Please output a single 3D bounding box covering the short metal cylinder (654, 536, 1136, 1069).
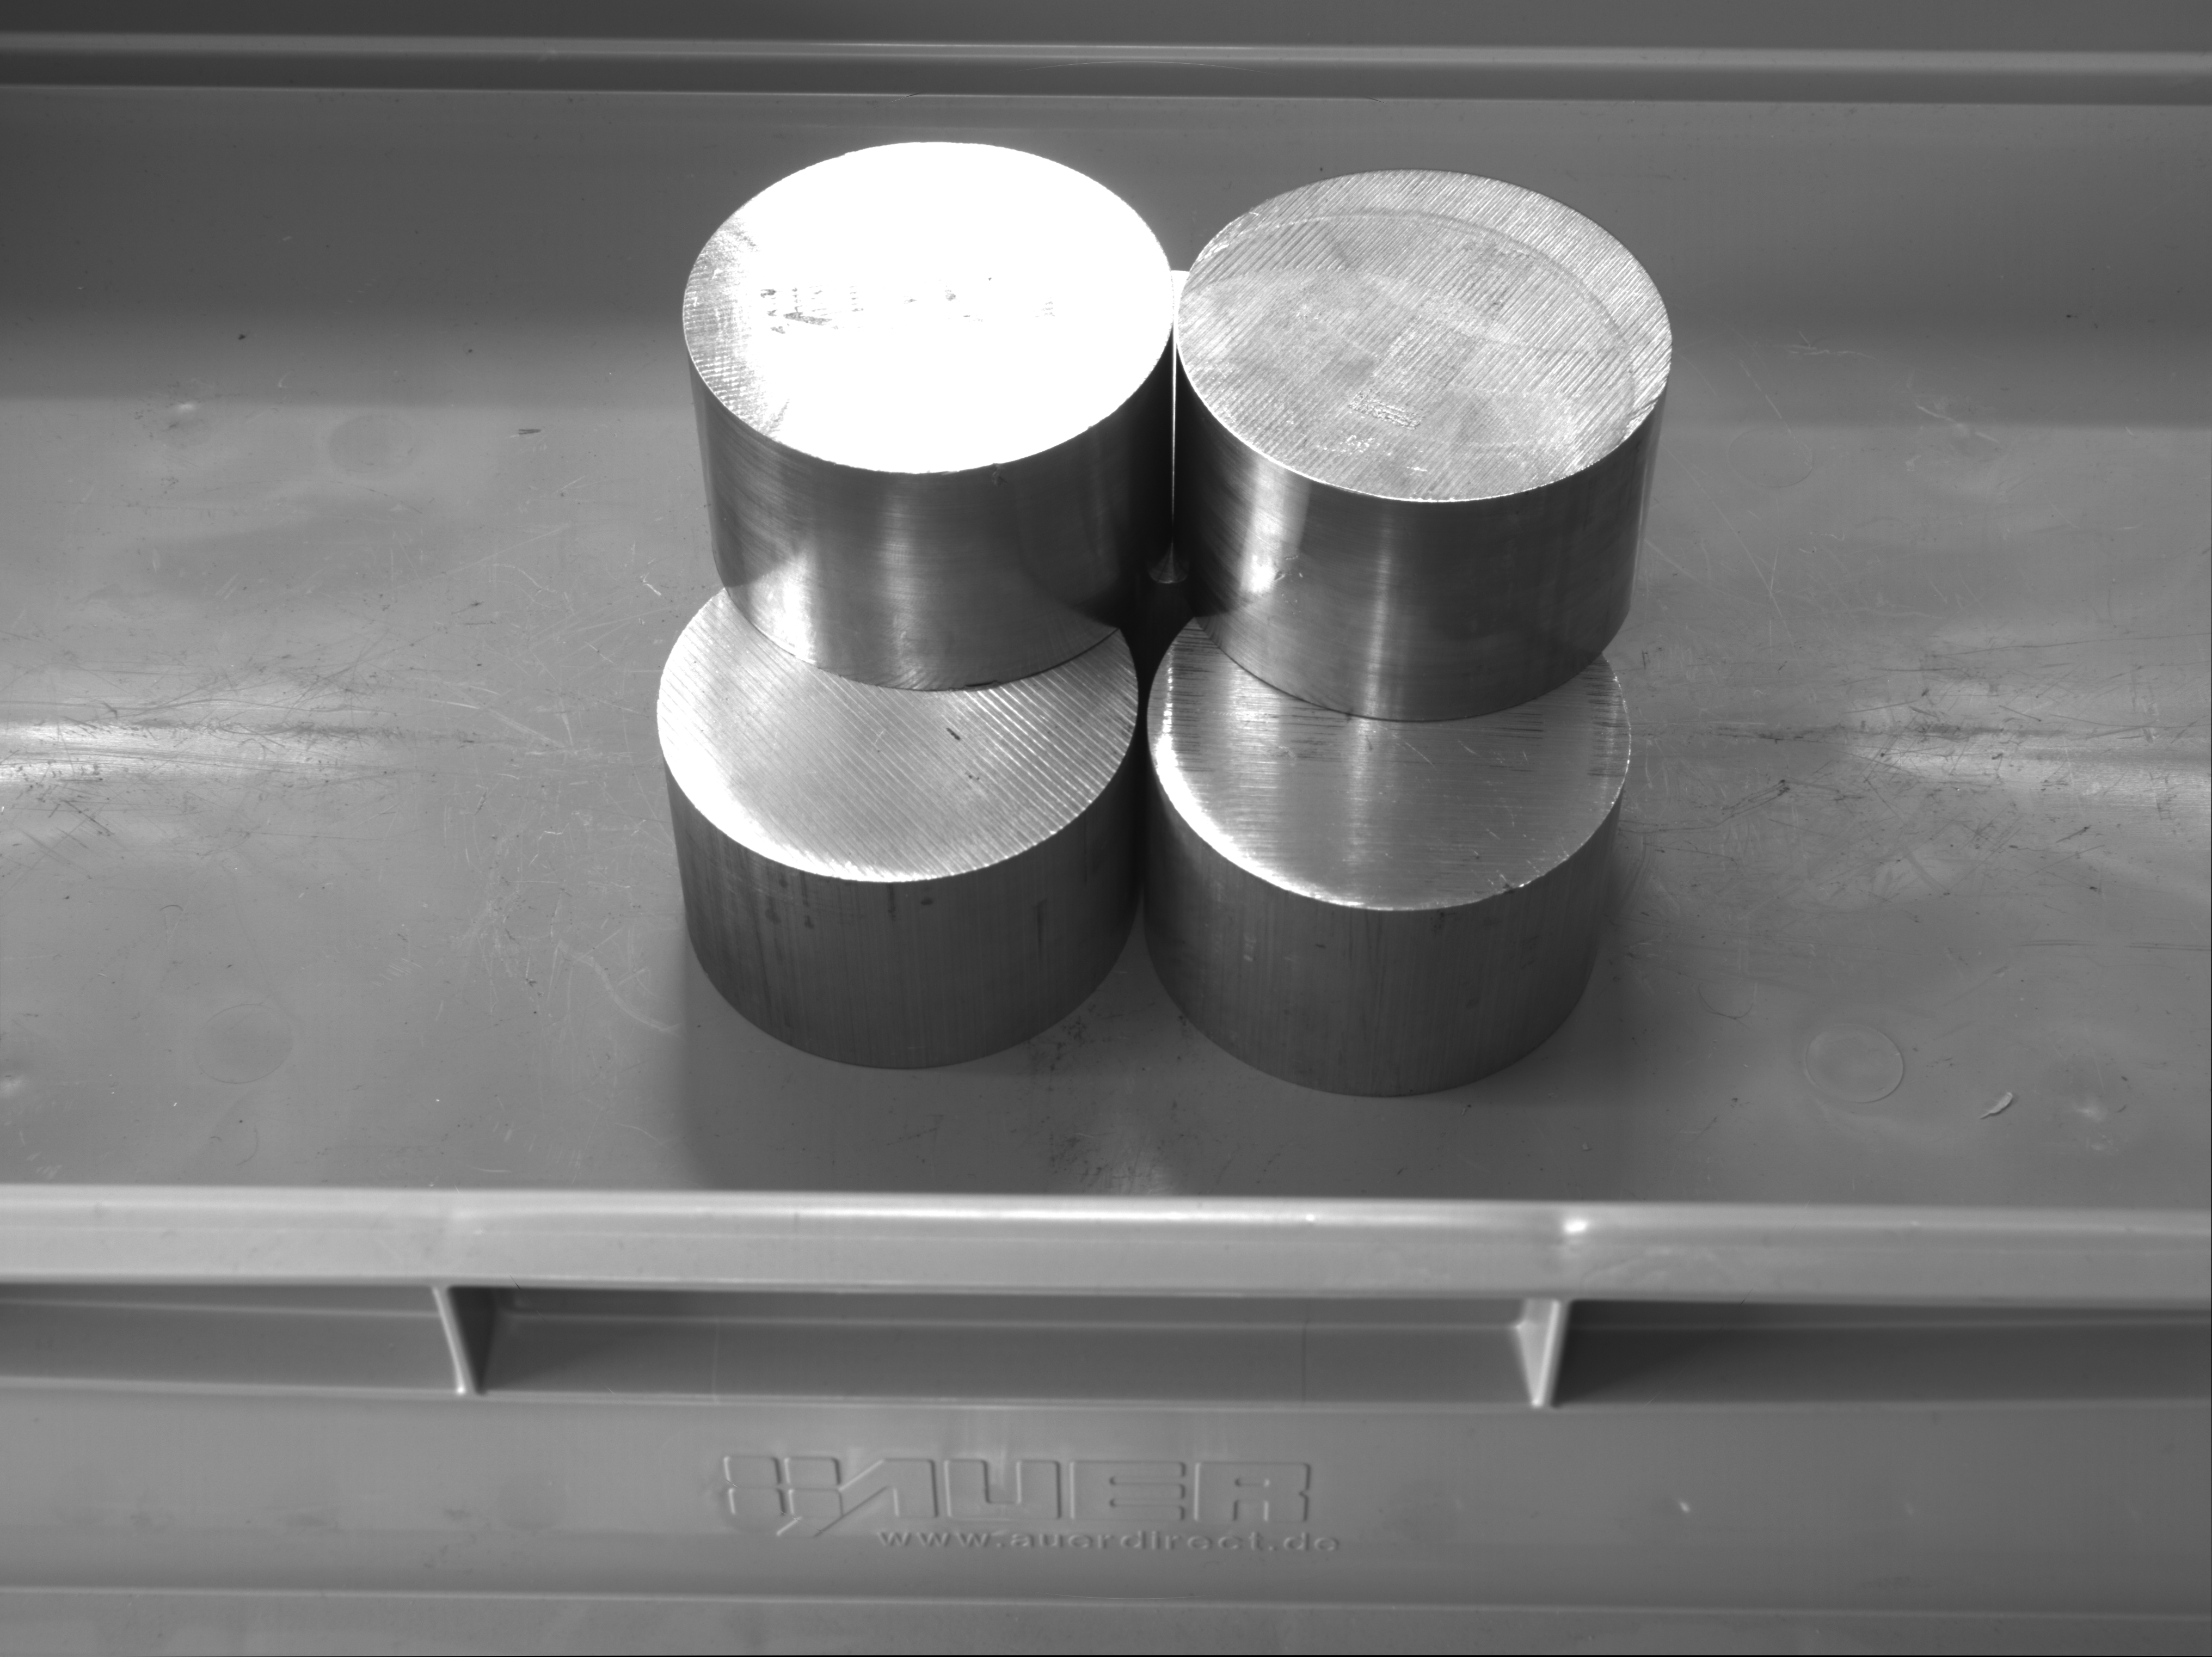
[{"bbox_3d":[-0.035,-0.006,0.629,0.080,0.050,0.080,0,50,0],"label":"short metal cylinder"}]

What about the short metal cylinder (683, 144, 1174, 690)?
[{"bbox_3d":[-0.029,-0.070,0.617,0.080,0.050,0.080,0,50,0],"label":"short metal cylinder"}]

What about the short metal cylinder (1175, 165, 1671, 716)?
[{"bbox_3d":[0.051,-0.065,0.613,0.080,0.050,0.080,0,50,0],"label":"short metal cylinder"}]

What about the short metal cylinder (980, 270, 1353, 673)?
[{"bbox_3d":[0.010,-0.057,0.672,0.080,0.050,0.080,0,50,0],"label":"short metal cylinder"}]

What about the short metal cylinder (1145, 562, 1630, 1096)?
[{"bbox_3d":[0.047,-0.002,0.625,0.080,0.050,0.080,0,50,0],"label":"short metal cylinder"}]
